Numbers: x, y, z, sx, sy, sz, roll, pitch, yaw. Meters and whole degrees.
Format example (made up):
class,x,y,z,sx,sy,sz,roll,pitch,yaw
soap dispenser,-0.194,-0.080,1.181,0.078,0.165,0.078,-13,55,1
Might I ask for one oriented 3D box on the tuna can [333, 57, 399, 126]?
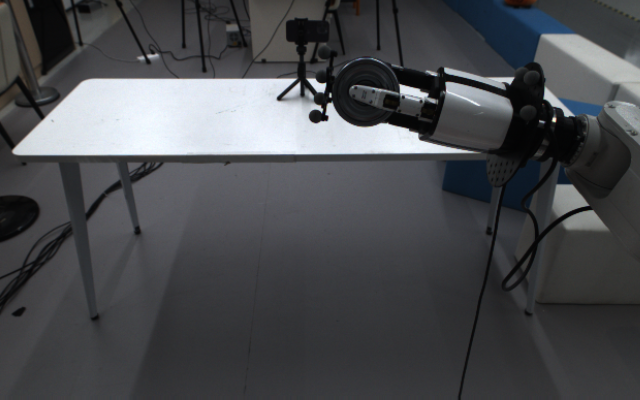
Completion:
class,x,y,z,sx,sy,sz,roll,pitch,yaw
tuna can,0.060,-0.134,0.609,0.085,0.085,0.034,4,18,3
